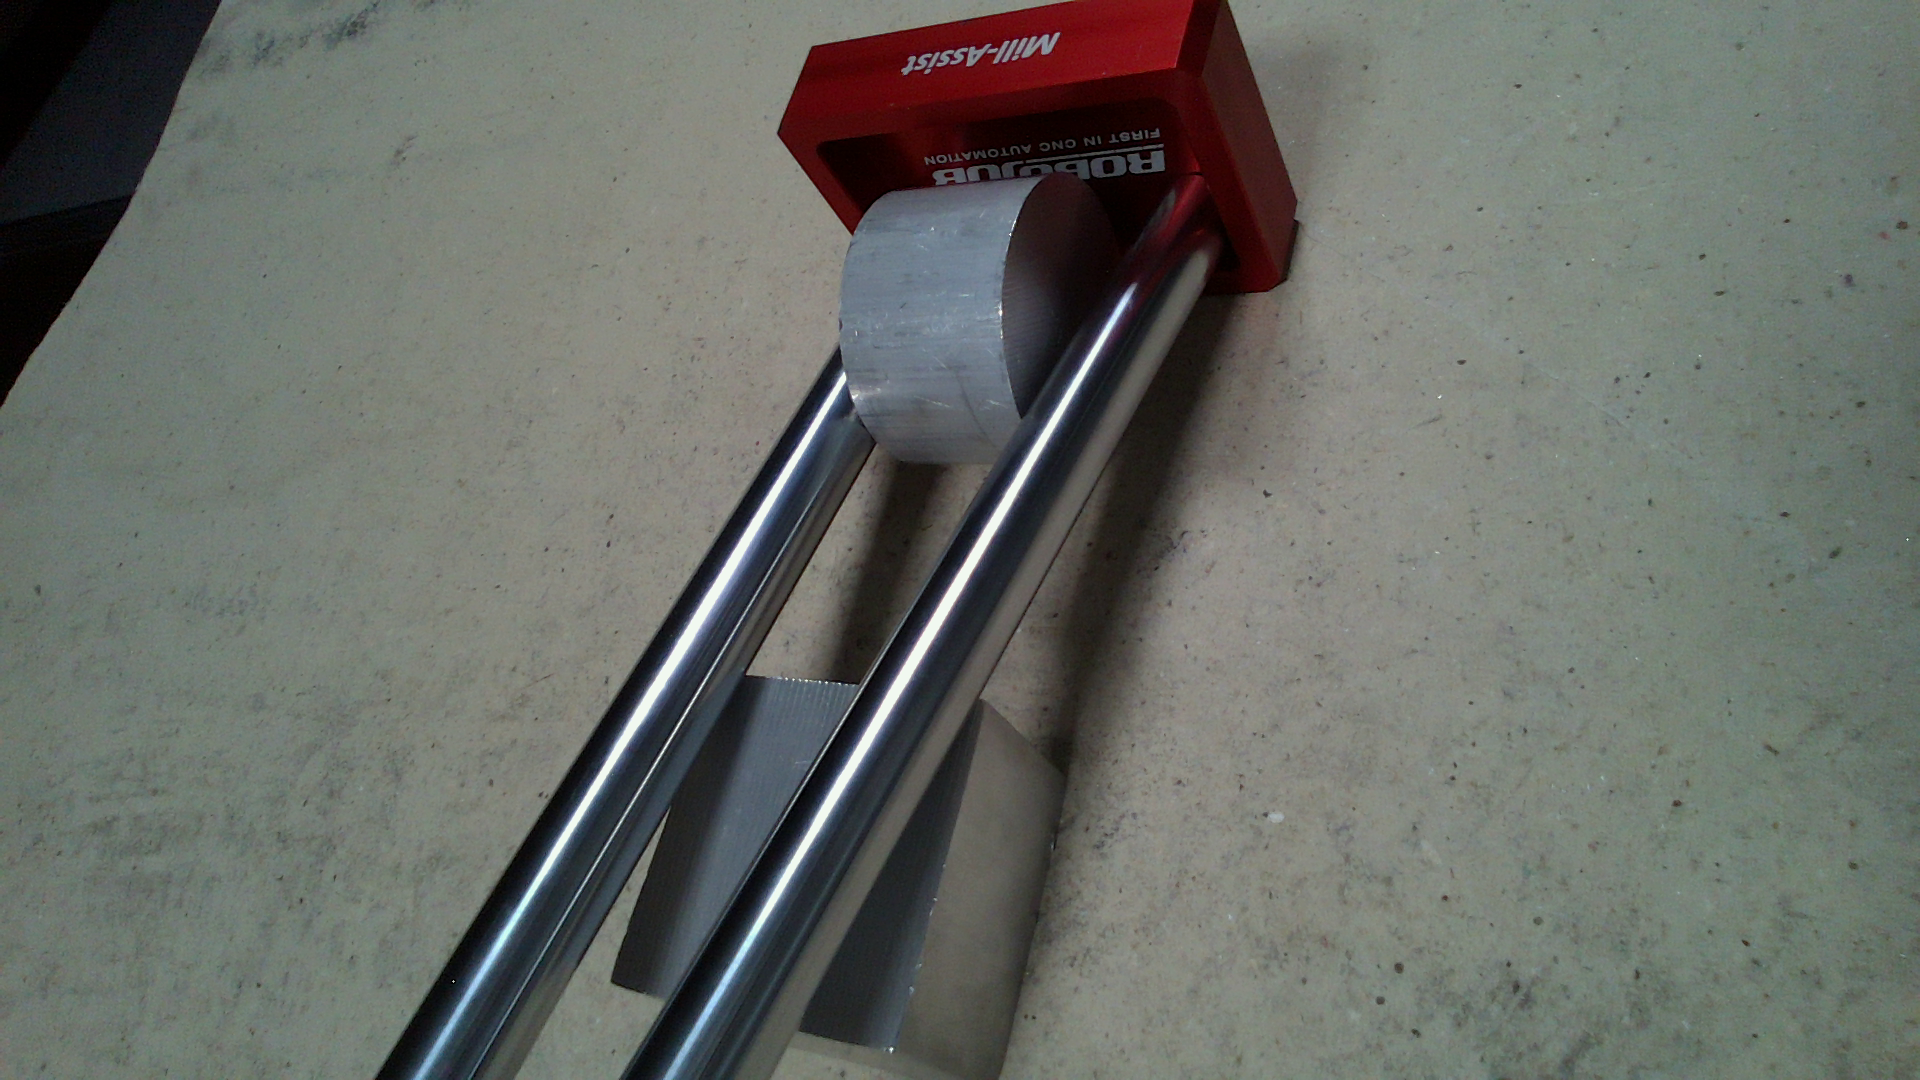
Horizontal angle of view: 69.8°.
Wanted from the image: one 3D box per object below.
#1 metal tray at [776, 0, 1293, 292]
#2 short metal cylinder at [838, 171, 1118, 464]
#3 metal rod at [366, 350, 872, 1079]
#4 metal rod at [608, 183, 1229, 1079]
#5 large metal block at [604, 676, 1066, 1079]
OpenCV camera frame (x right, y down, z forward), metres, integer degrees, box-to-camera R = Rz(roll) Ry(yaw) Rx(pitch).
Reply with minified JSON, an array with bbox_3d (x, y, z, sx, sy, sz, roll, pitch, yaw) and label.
[{"bbox_3d":[0.023,-0.110,0.407,0.130,0.090,0.030,2,63,30],"label":"metal tray"},{"bbox_3d":[0.008,-0.062,0.392,0.050,0.080,0.080,2,63,29],"label":"short metal cylinder"},{"bbox_3d":[-0.058,0.012,0.359,0.025,0.025,0.301,2,47,29],"label":"metal rod"},{"bbox_3d":[0.003,0.014,0.323,0.025,0.025,0.301,9,51,32],"label":"metal rod"},{"bbox_3d":[-0.028,0.082,0.340,0.080,0.050,0.080,2,62,29],"label":"large metal block"}]
